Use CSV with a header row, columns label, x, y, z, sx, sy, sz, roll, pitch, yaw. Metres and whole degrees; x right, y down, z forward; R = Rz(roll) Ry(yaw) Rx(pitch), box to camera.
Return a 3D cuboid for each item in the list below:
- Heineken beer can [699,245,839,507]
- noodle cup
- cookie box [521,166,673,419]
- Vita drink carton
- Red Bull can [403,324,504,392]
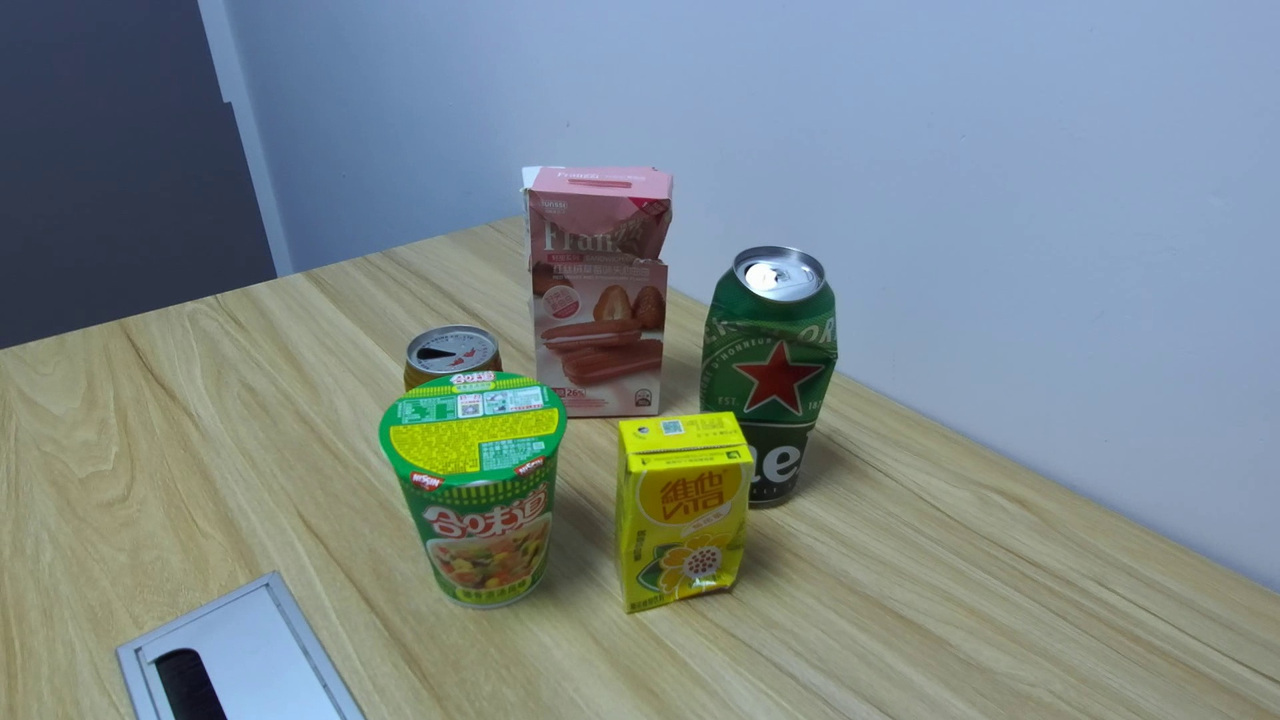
label,x,y,z,sx,sy,sz,roll,pitch,yaw
Heineken beer can,0.077,0.016,0.449,0.068,0.168,0.069,30,43,34
noodle cup,-0.090,0.078,0.401,0.097,0.110,0.097,3,33,-2
cookie box,-0.031,-0.044,0.523,0.105,0.186,0.059,1,34,-3
Vita drink carton,0.025,0.085,0.393,0.076,0.109,0.043,-4,33,-10
Red Bull can,-0.125,0.029,0.491,0.068,0.093,0.068,2,33,-1
